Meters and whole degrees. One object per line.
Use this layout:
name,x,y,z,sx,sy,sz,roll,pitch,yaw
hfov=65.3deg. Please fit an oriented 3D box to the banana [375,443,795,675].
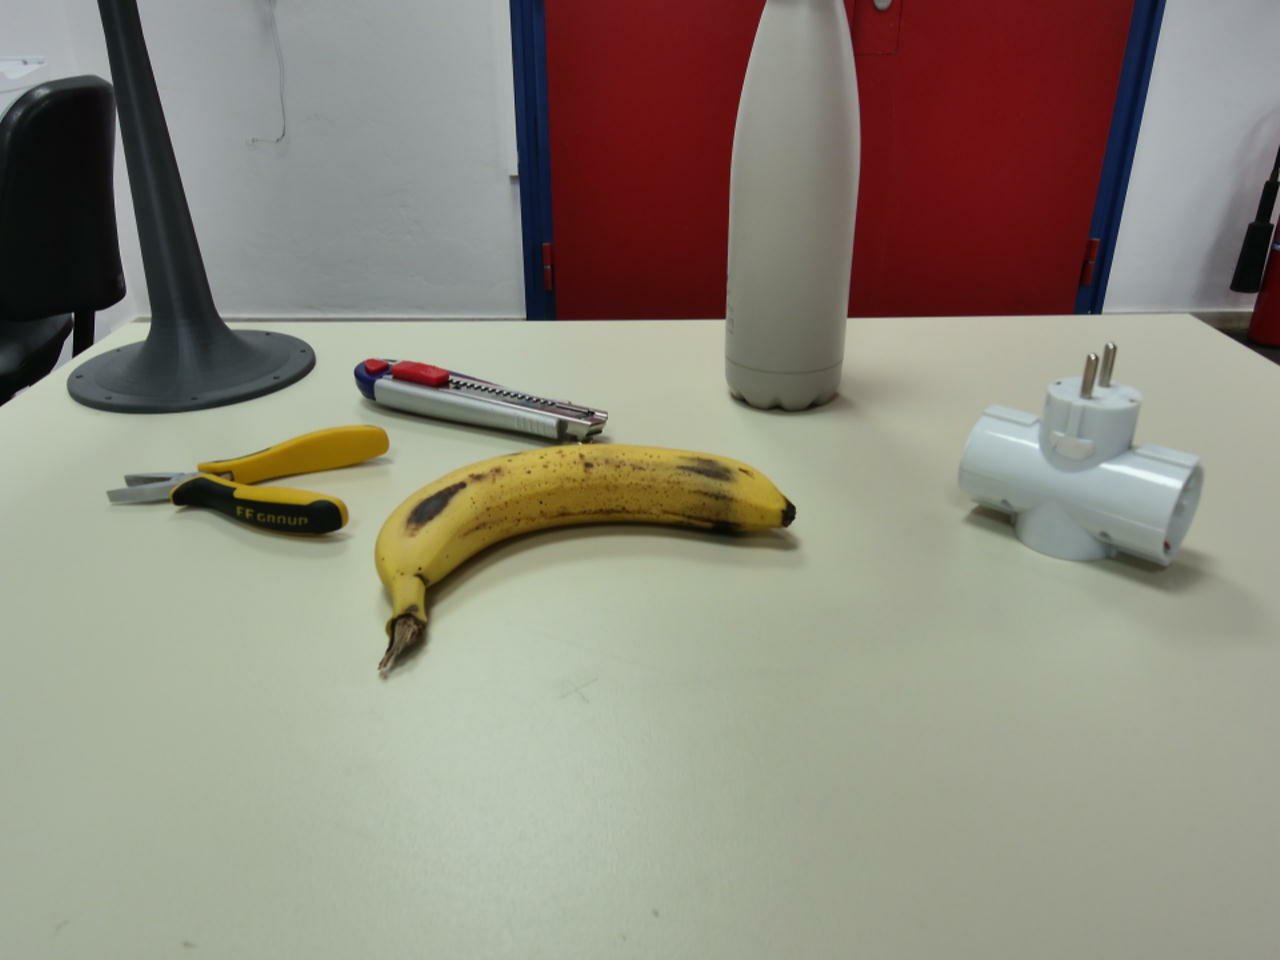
banana,-0.032,0.016,0.443,0.186,0.038,0.097,-12,27,-25
